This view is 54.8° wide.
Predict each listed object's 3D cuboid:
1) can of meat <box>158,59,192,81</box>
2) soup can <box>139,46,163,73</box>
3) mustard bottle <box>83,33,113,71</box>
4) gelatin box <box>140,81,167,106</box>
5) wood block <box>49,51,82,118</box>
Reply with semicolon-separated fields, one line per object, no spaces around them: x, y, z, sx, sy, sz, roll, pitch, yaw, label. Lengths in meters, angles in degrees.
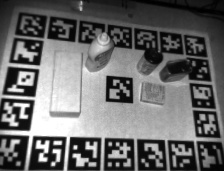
0.236;-0.060;0.820;0.102;0.083;0.057;-9;73;-17;can of meat
0.144;-0.095;0.793;0.068;0.102;0.068;3;72;-9;soup can
-0.043;-0.114;0.726;0.097;0.191;0.058;-21;75;-18;mustard bottle
0.155;0.029;0.795;0.089;0.030;0.073;14;71;-4;gelatin box
-0.149;-0.007;0.715;0.091;0.090;0.205;6;66;-11;wood block
